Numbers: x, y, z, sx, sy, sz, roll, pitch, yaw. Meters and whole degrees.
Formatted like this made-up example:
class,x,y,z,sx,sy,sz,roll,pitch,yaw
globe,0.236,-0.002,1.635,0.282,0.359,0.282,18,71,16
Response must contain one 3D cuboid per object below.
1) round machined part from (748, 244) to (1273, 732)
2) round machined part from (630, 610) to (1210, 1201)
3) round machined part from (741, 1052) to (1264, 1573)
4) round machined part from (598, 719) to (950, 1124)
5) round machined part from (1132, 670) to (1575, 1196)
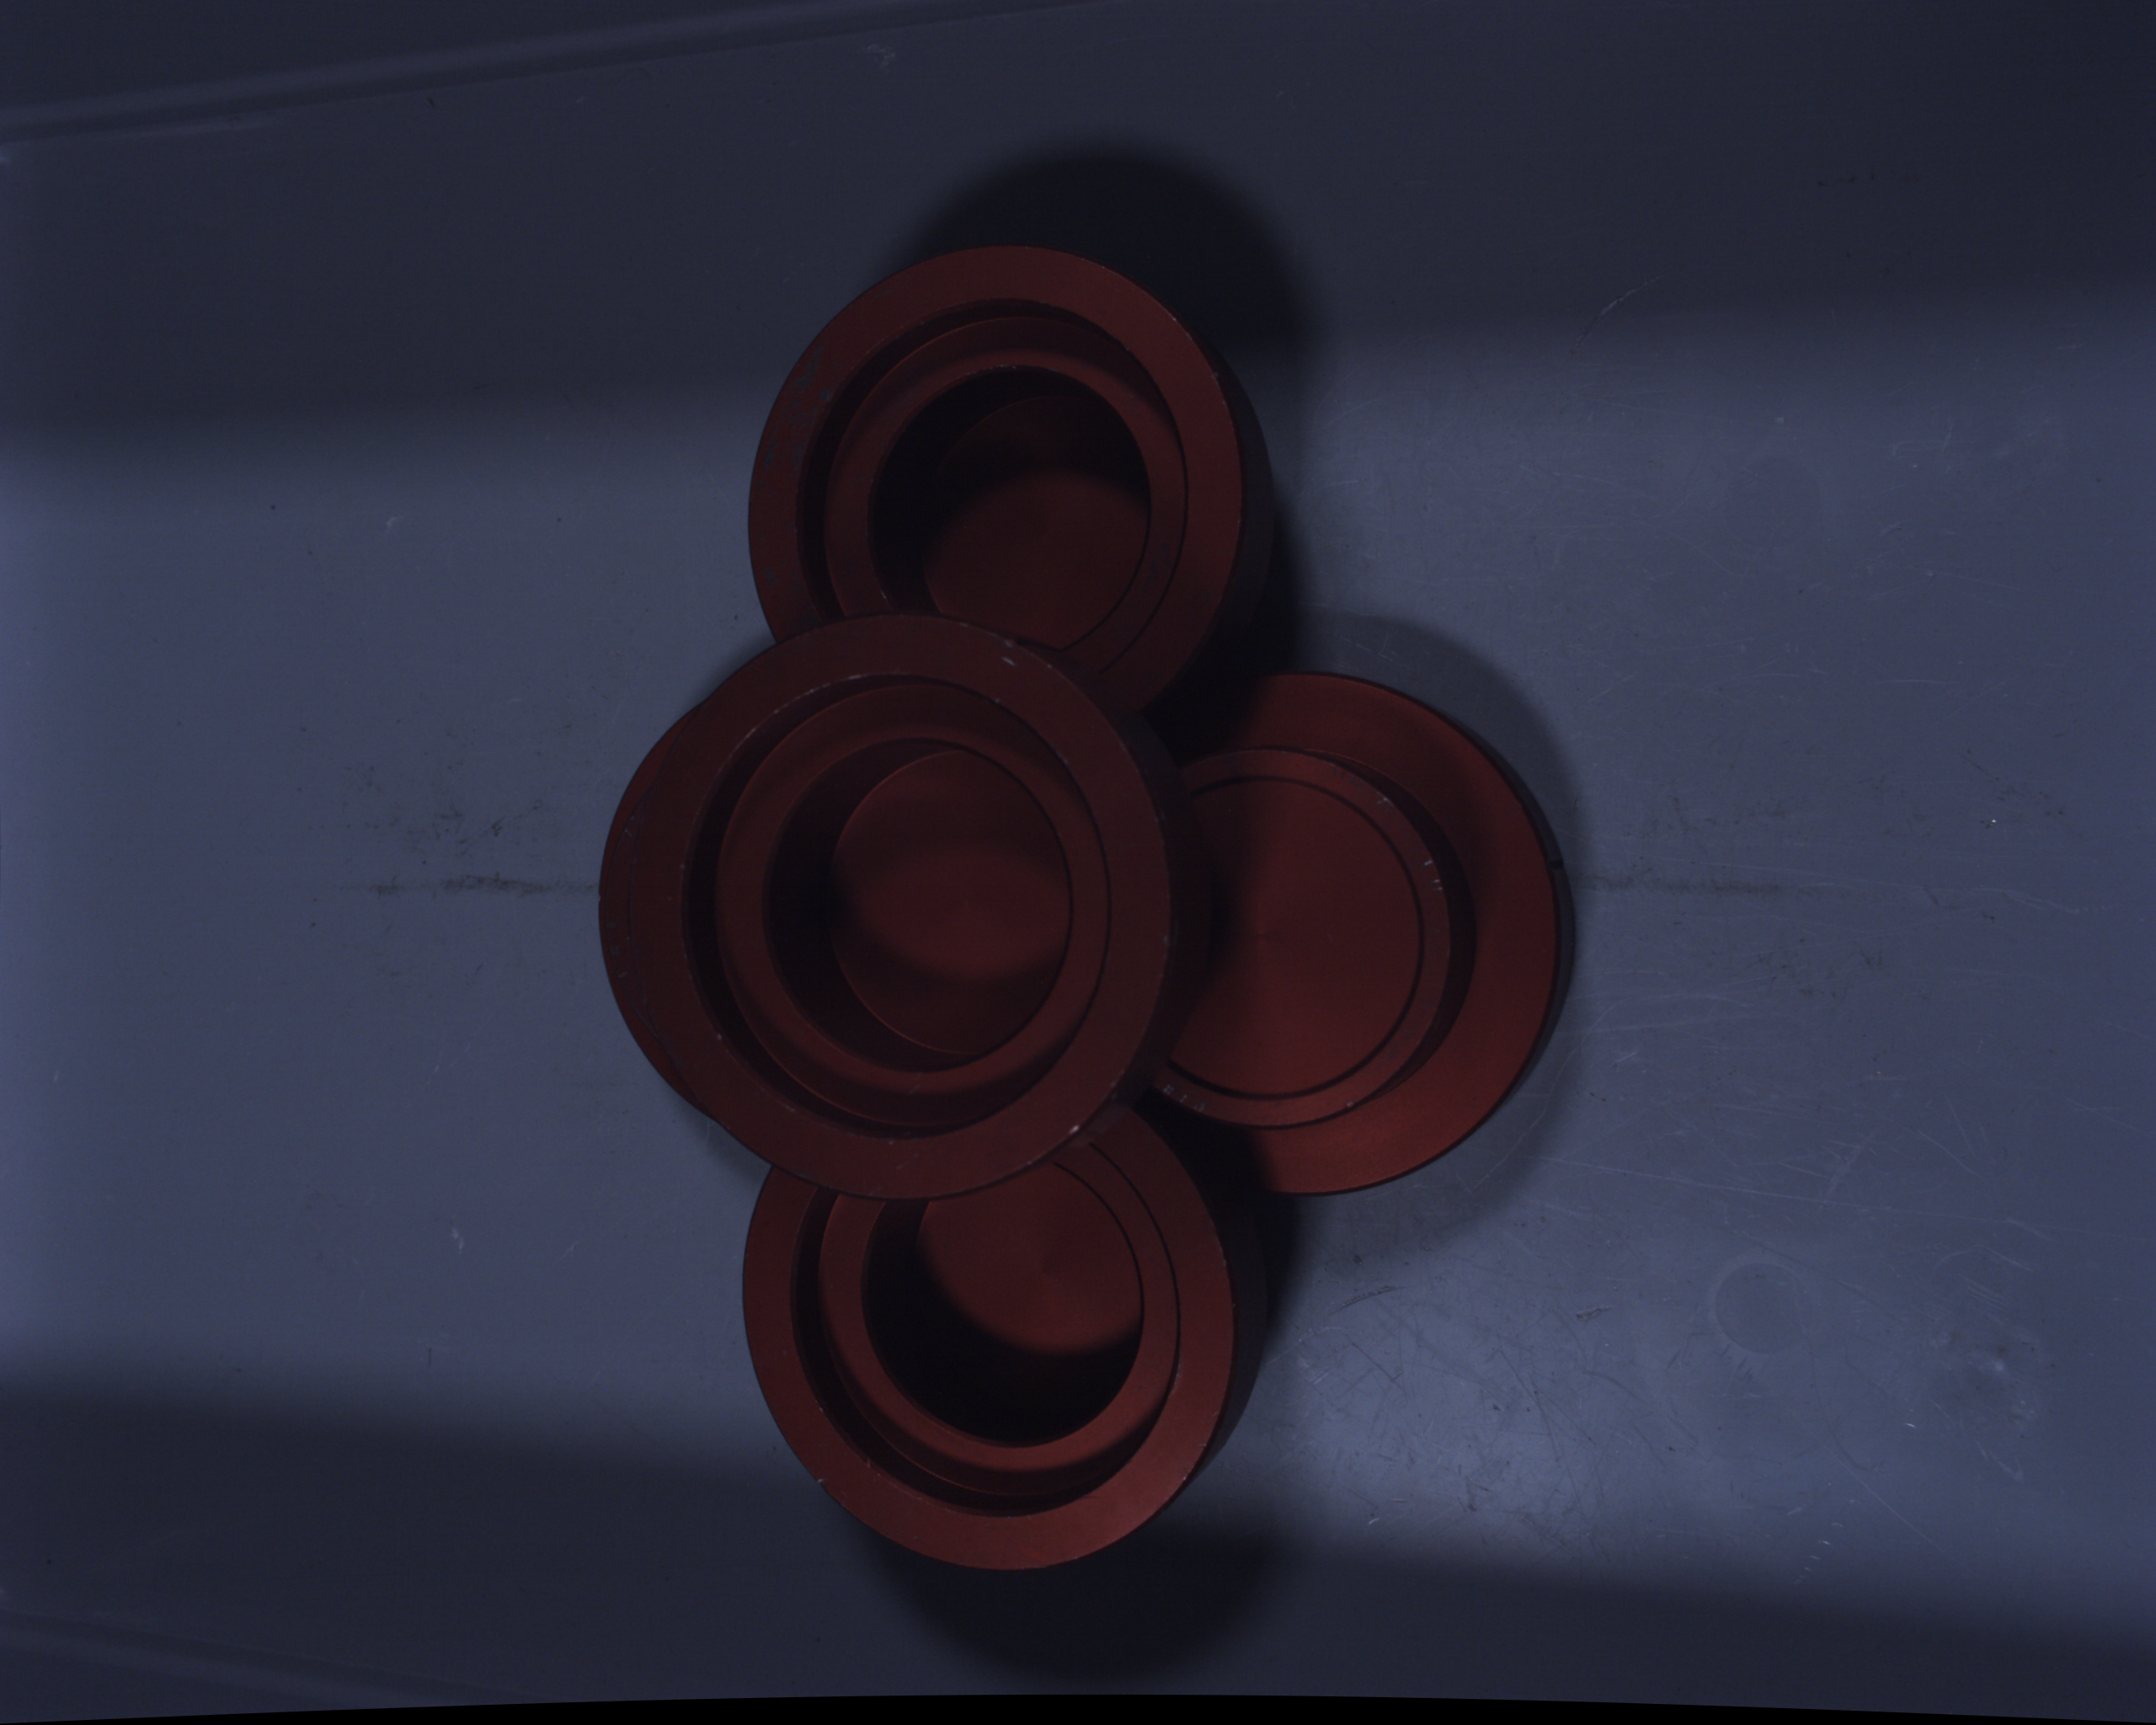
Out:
class,x,y,z,sx,sy,sz,roll,pitch,yaw
round machined part,-0.010,-0.065,0.402,0.098,0.042,0.097,0,90,19
round machined part,-0.024,0.007,0.362,0.098,0.042,0.097,0,90,19
round machined part,-0.011,0.082,0.402,0.098,0.042,0.097,0,90,19
round machined part,-0.054,0.009,0.418,0.098,0.042,0.097,0,90,19
round machined part,0.039,0.013,0.384,0.098,0.042,0.097,0,90,19
